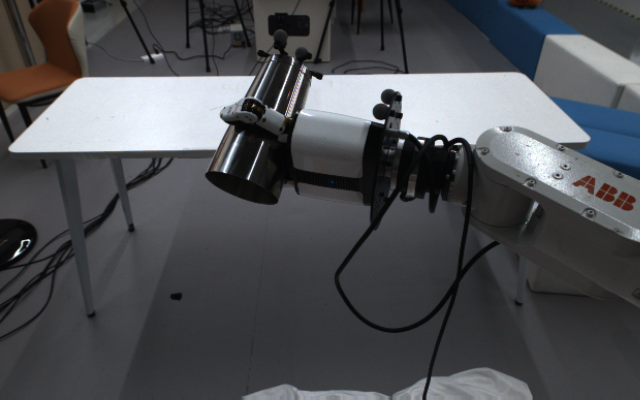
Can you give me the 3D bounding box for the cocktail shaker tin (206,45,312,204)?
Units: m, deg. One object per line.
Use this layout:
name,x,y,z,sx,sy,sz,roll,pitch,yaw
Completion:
cocktail shaker tin,-0.067,-0.089,0.596,0.093,0.093,0.170,14,73,17
